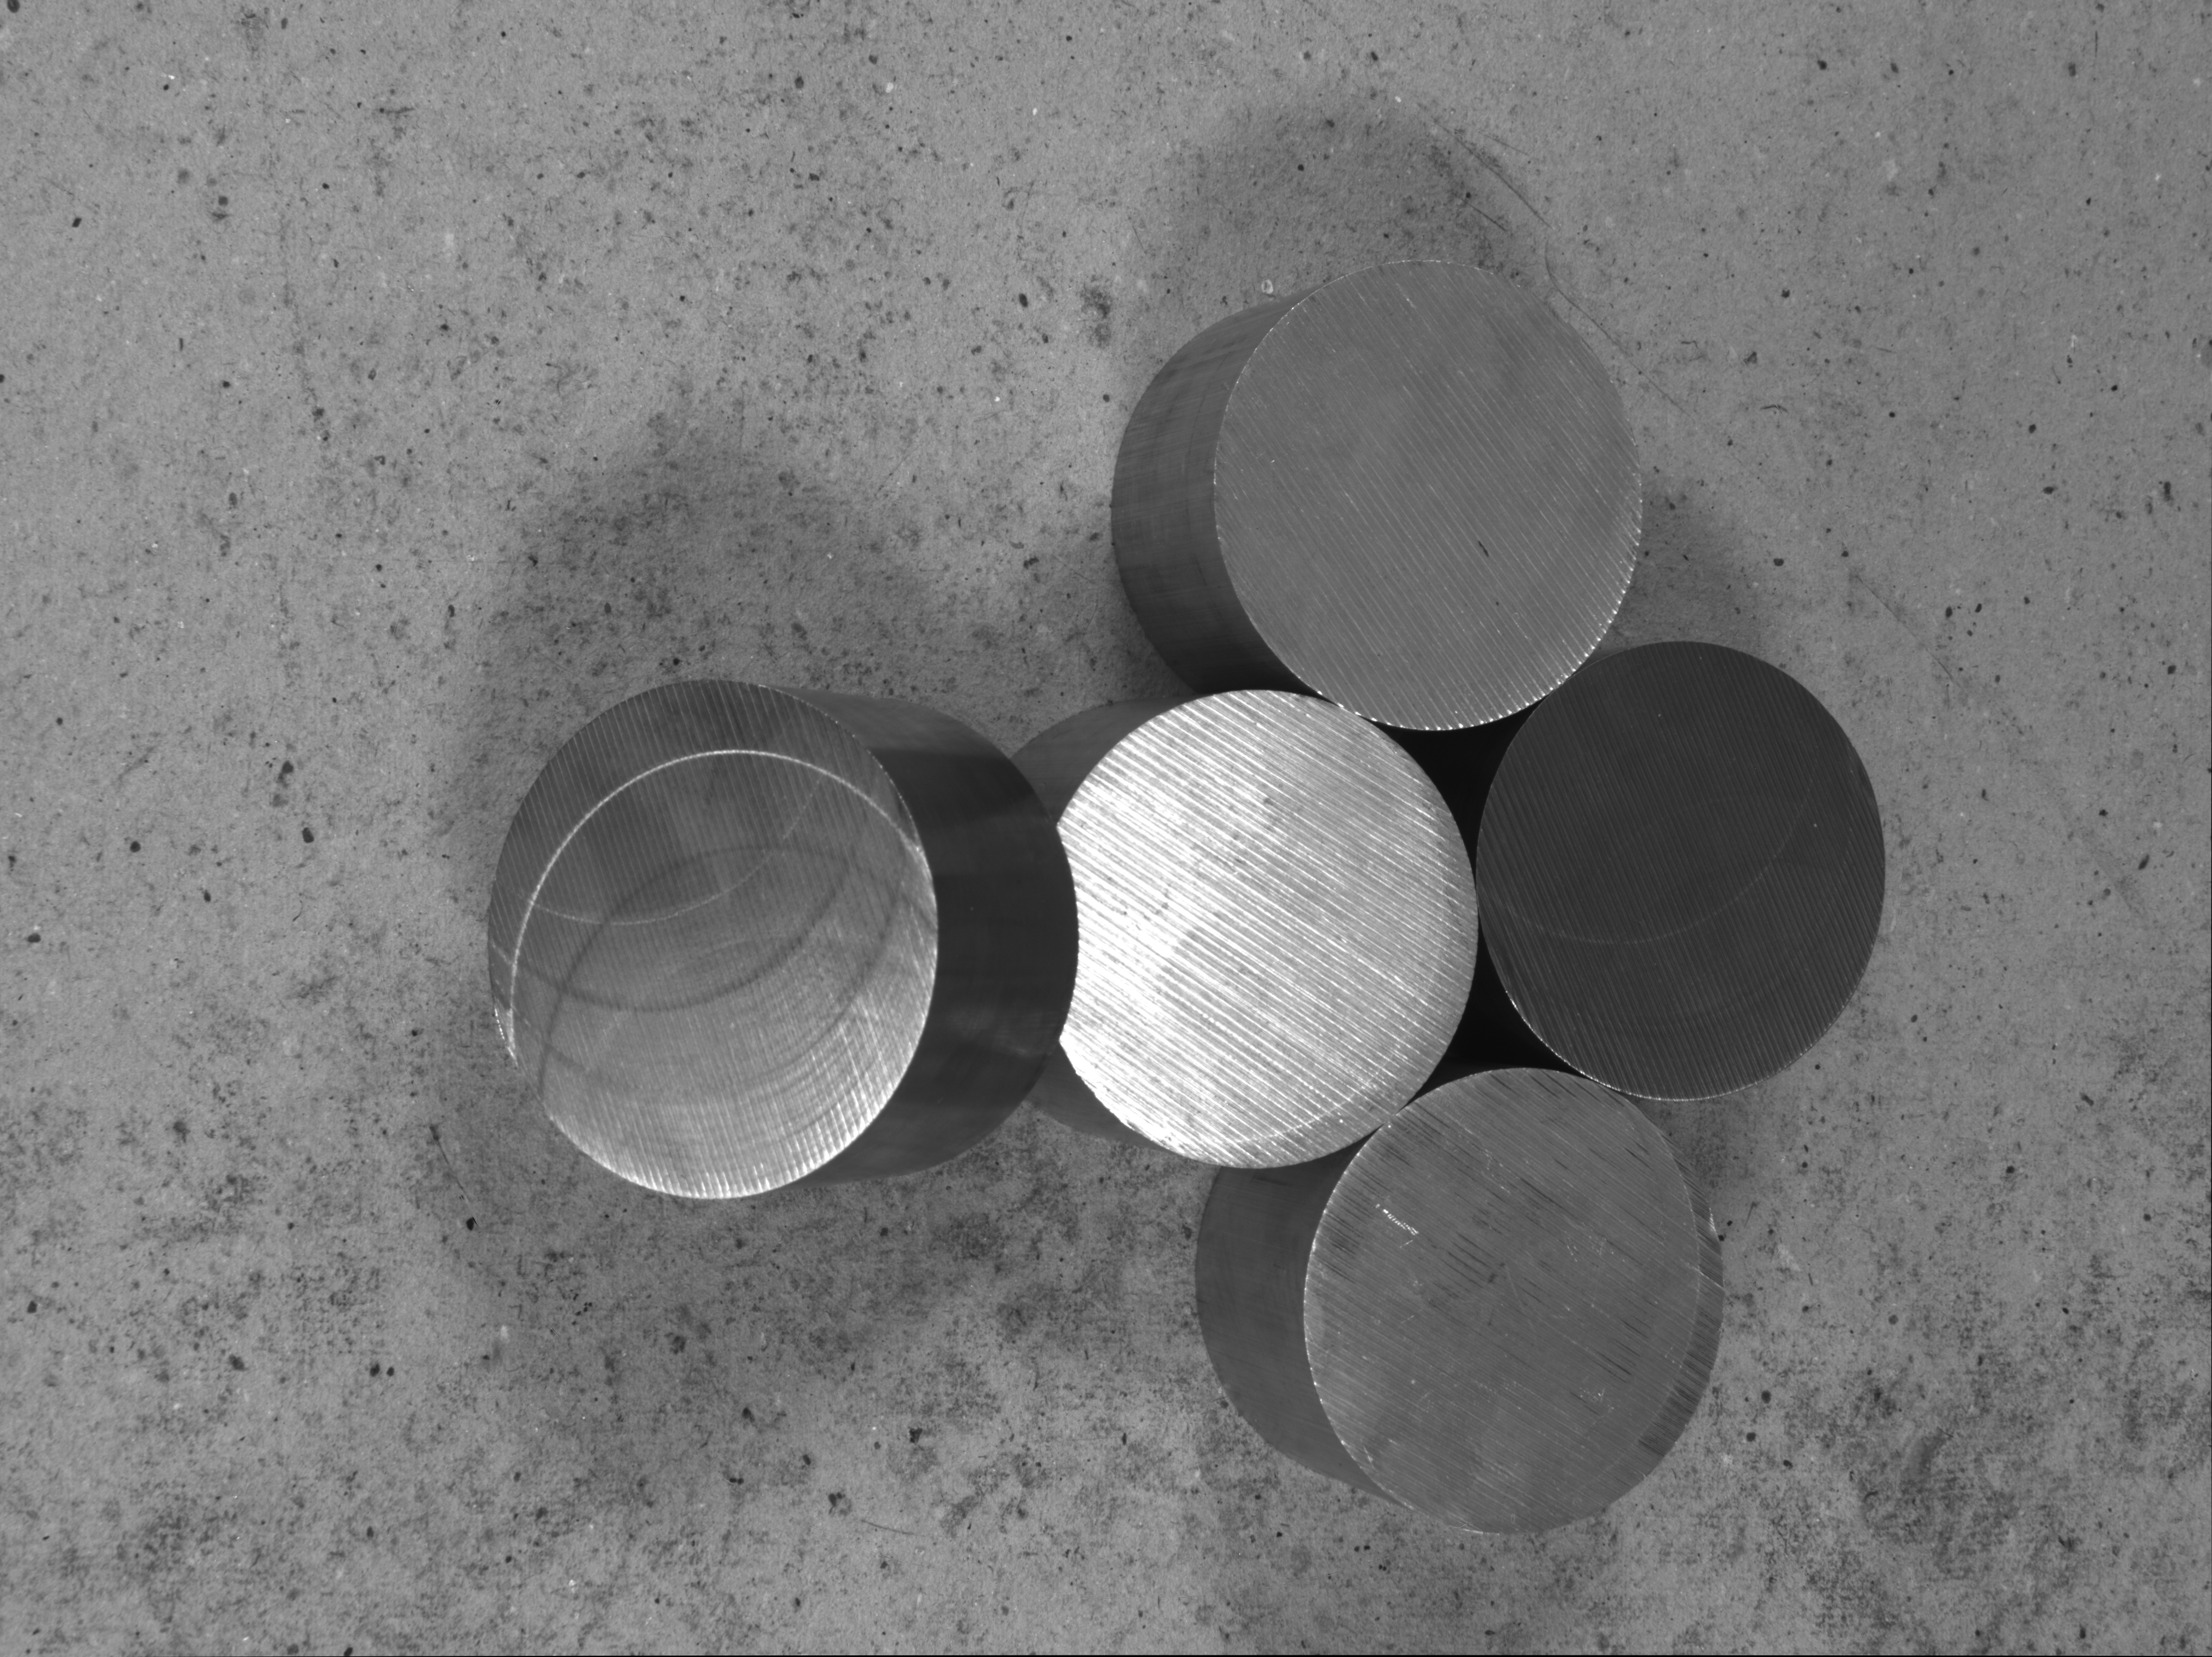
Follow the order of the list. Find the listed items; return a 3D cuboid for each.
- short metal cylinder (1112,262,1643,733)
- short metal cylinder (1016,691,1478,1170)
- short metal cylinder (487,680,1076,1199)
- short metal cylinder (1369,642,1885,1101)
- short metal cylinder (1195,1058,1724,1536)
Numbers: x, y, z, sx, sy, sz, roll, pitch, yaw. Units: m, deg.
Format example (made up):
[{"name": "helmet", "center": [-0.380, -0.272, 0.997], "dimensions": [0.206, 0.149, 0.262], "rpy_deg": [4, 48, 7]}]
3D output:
[{"name": "short metal cylinder", "center": [0.047, -0.056, 0.647], "dimensions": [0.080, 0.050, 0.080], "rpy_deg": [0, 90, -20]}, {"name": "short metal cylinder", "center": [0.017, 0.017, 0.636], "dimensions": [0.080, 0.050, 0.080], "rpy_deg": [0, 90, -20]}, {"name": "short metal cylinder", "center": [-0.052, 0.018, 0.589], "dimensions": [0.080, 0.050, 0.080], "rpy_deg": [-1, 88, 25]}, {"name": "short metal cylinder", "center": [0.093, 0.008, 0.663], "dimensions": [0.080, 0.050, 0.080], "rpy_deg": [0, 90, -20]}, {"name": "short metal cylinder", "center": [0.062, 0.081, 0.652], "dimensions": [0.080, 0.050, 0.080], "rpy_deg": [0, 90, -20]}]
